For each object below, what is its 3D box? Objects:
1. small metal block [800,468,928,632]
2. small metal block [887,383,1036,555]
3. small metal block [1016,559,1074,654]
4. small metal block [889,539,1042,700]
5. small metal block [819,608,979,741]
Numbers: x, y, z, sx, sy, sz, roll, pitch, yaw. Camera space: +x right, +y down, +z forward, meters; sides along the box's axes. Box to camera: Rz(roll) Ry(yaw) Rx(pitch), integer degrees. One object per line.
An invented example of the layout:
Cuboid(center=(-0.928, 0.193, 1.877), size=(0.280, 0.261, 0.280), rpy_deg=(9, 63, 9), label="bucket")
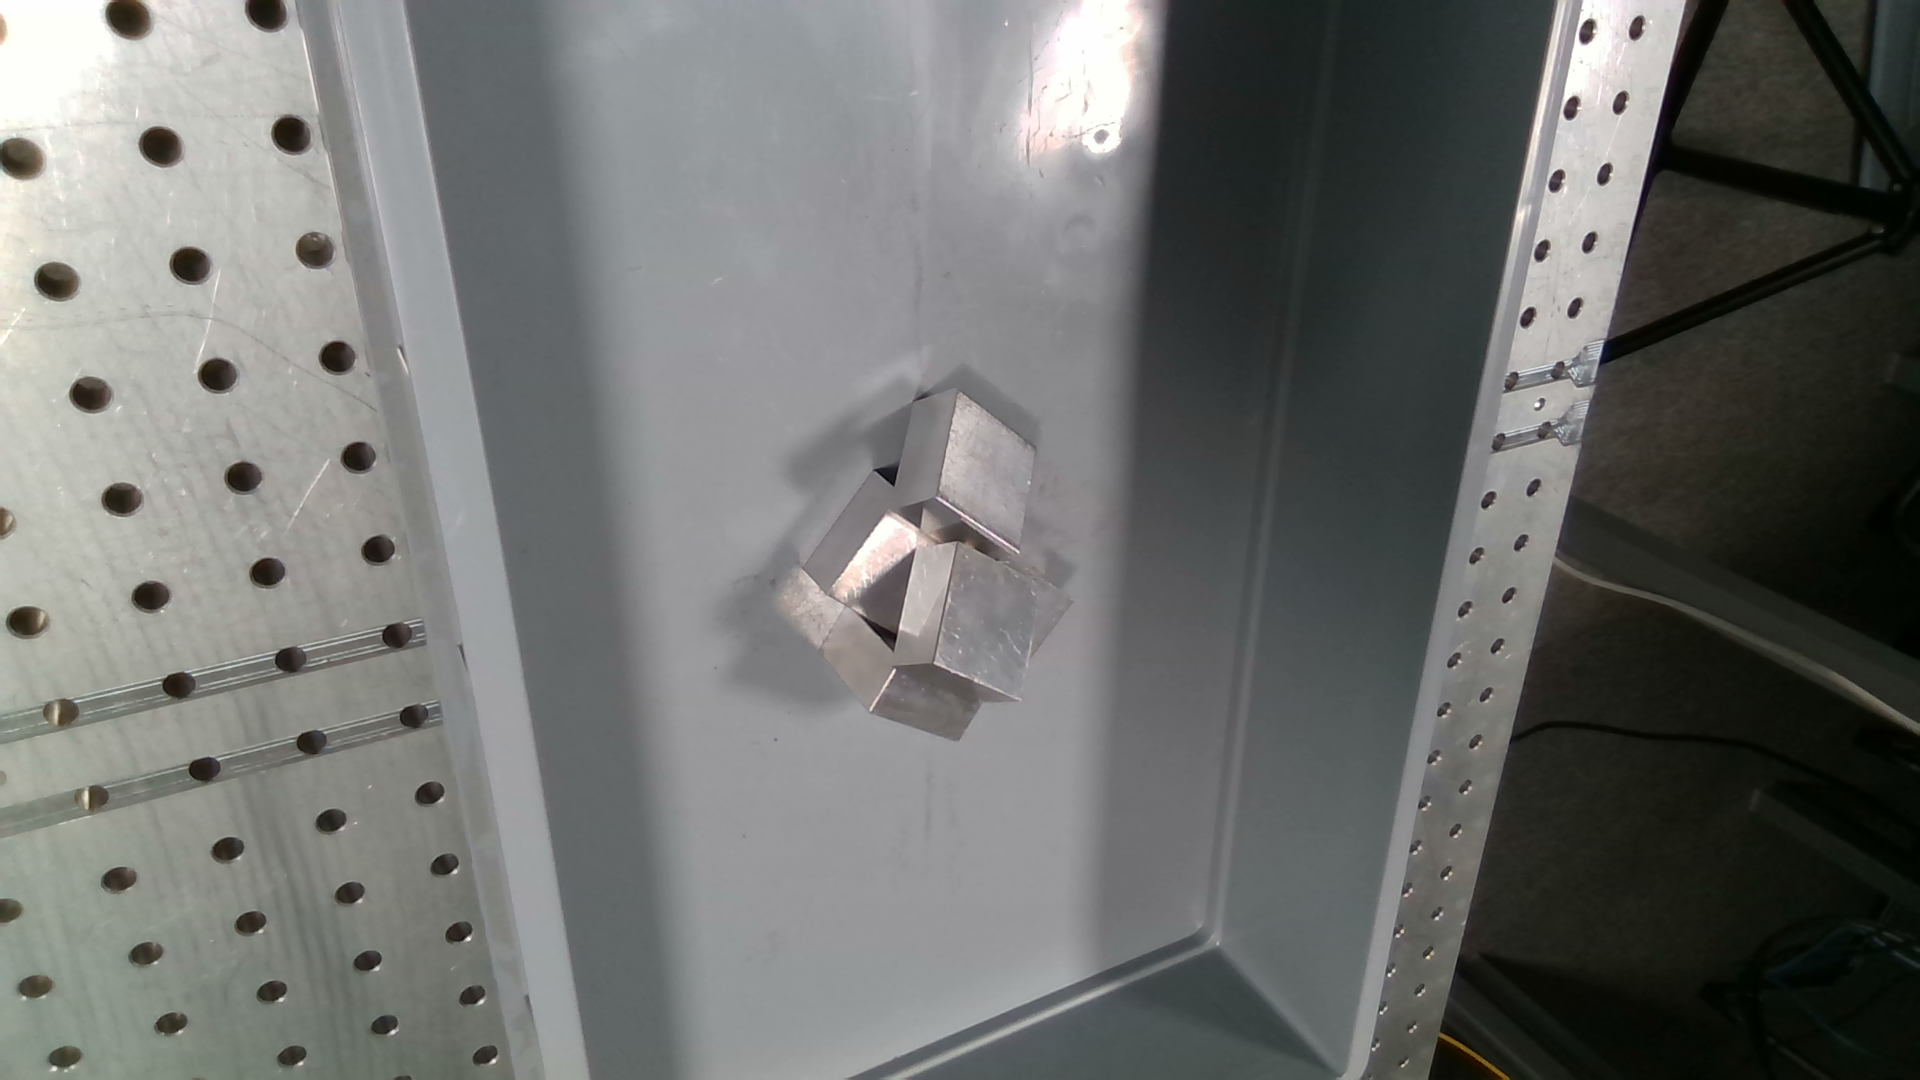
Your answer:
Cuboid(center=(-0.028, 0.007, 0.565), size=(0.050, 0.025, 0.050), rpy_deg=(33, 95, -39), label="small metal block")
Cuboid(center=(0.002, -0.026, 0.550), size=(0.050, 0.025, 0.050), rpy_deg=(33, 57, -39), label="small metal block")
Cuboid(center=(0.014, 0.030, 0.603), size=(0.050, 0.025, 0.050), rpy_deg=(33, 95, -39), label="small metal block")
Cuboid(center=(0.003, 0.033, 0.551), size=(0.050, 0.025, 0.050), rpy_deg=(27, 65, -38), label="small metal block")
Cuboid(center=(-0.025, 0.055, 0.577), size=(0.050, 0.050, 0.025), rpy_deg=(24, 101, -38), label="small metal block")
